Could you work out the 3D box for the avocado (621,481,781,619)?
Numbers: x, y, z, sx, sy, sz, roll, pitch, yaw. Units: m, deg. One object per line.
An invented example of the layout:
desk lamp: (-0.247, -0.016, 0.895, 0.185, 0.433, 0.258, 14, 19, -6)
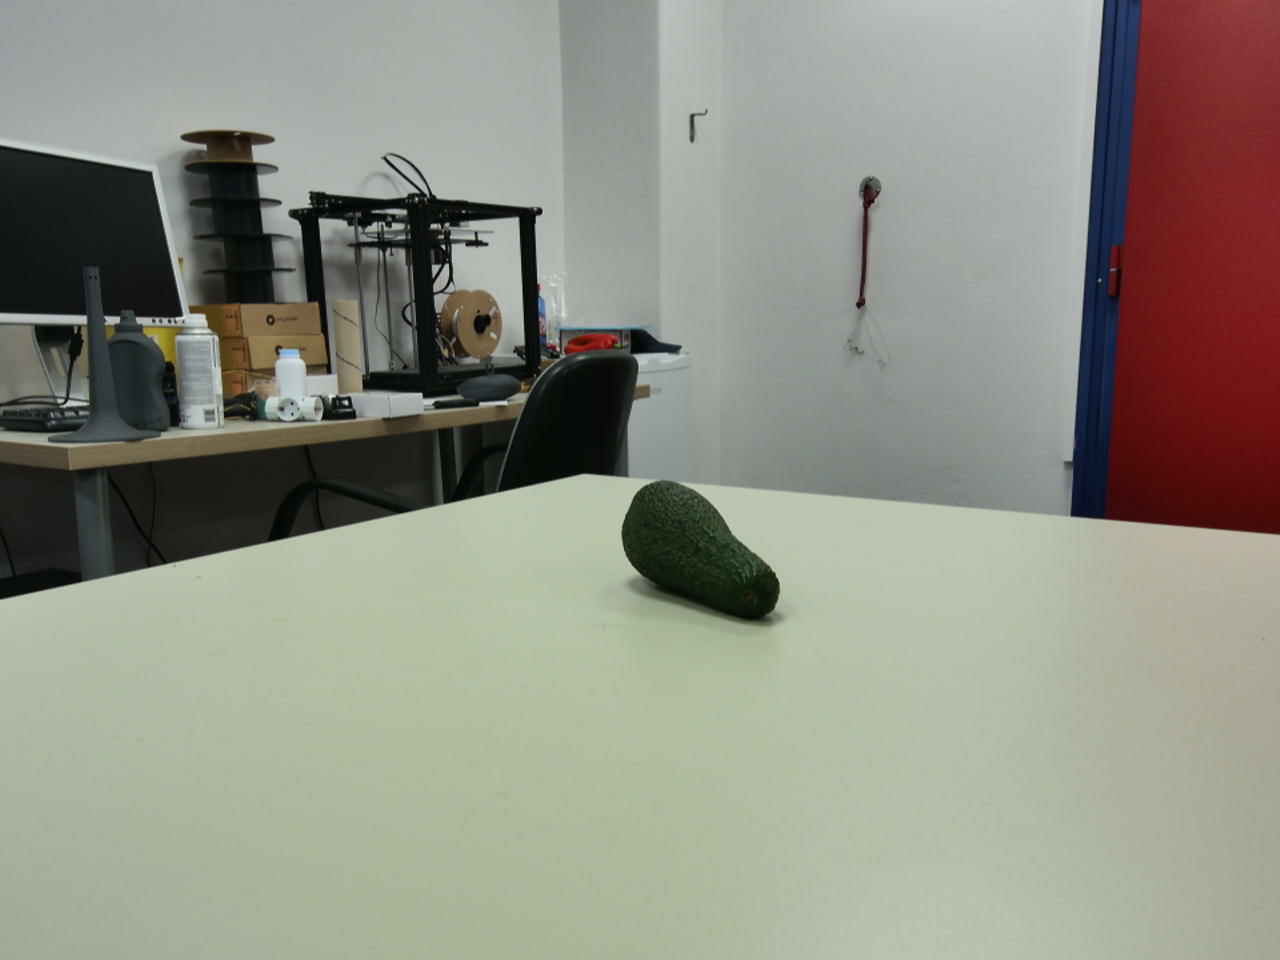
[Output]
avocado: (0.040, 0.038, 0.603, 0.063, 0.067, 0.141, -5, 9, -39)
